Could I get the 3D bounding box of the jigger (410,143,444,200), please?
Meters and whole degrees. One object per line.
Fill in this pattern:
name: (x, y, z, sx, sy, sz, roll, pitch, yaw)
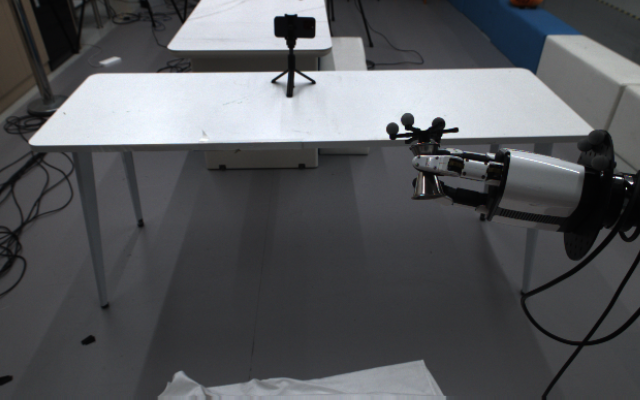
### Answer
jigger: (0.137, -0.038, 0.626, 0.043, 0.071, 0.043, -2, -7, 0)
